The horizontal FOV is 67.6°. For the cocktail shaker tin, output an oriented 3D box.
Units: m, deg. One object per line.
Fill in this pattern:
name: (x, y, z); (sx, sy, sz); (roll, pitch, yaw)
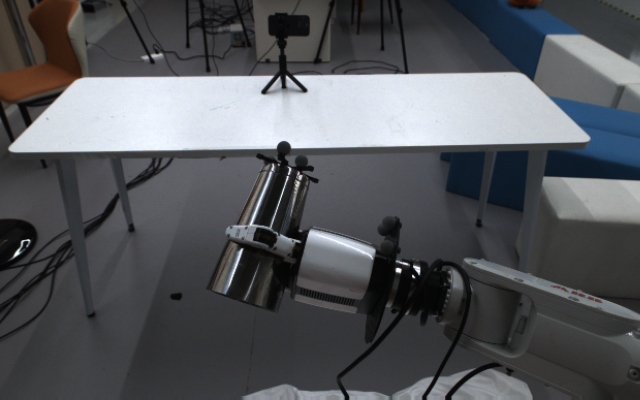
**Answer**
cocktail shaker tin: (-0.071, 0.045, 0.605); (0.093, 0.093, 0.170); (14, 73, 17)
